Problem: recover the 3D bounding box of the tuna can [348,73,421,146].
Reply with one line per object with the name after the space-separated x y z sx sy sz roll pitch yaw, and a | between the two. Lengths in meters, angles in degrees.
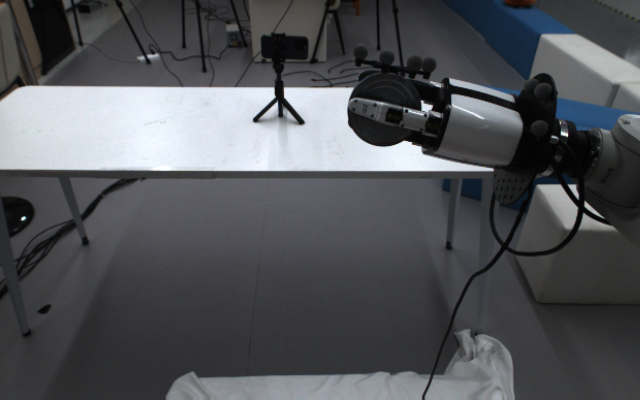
0.077 -0.112 0.577 0.085 0.085 0.034 5 19 4 | tuna can
